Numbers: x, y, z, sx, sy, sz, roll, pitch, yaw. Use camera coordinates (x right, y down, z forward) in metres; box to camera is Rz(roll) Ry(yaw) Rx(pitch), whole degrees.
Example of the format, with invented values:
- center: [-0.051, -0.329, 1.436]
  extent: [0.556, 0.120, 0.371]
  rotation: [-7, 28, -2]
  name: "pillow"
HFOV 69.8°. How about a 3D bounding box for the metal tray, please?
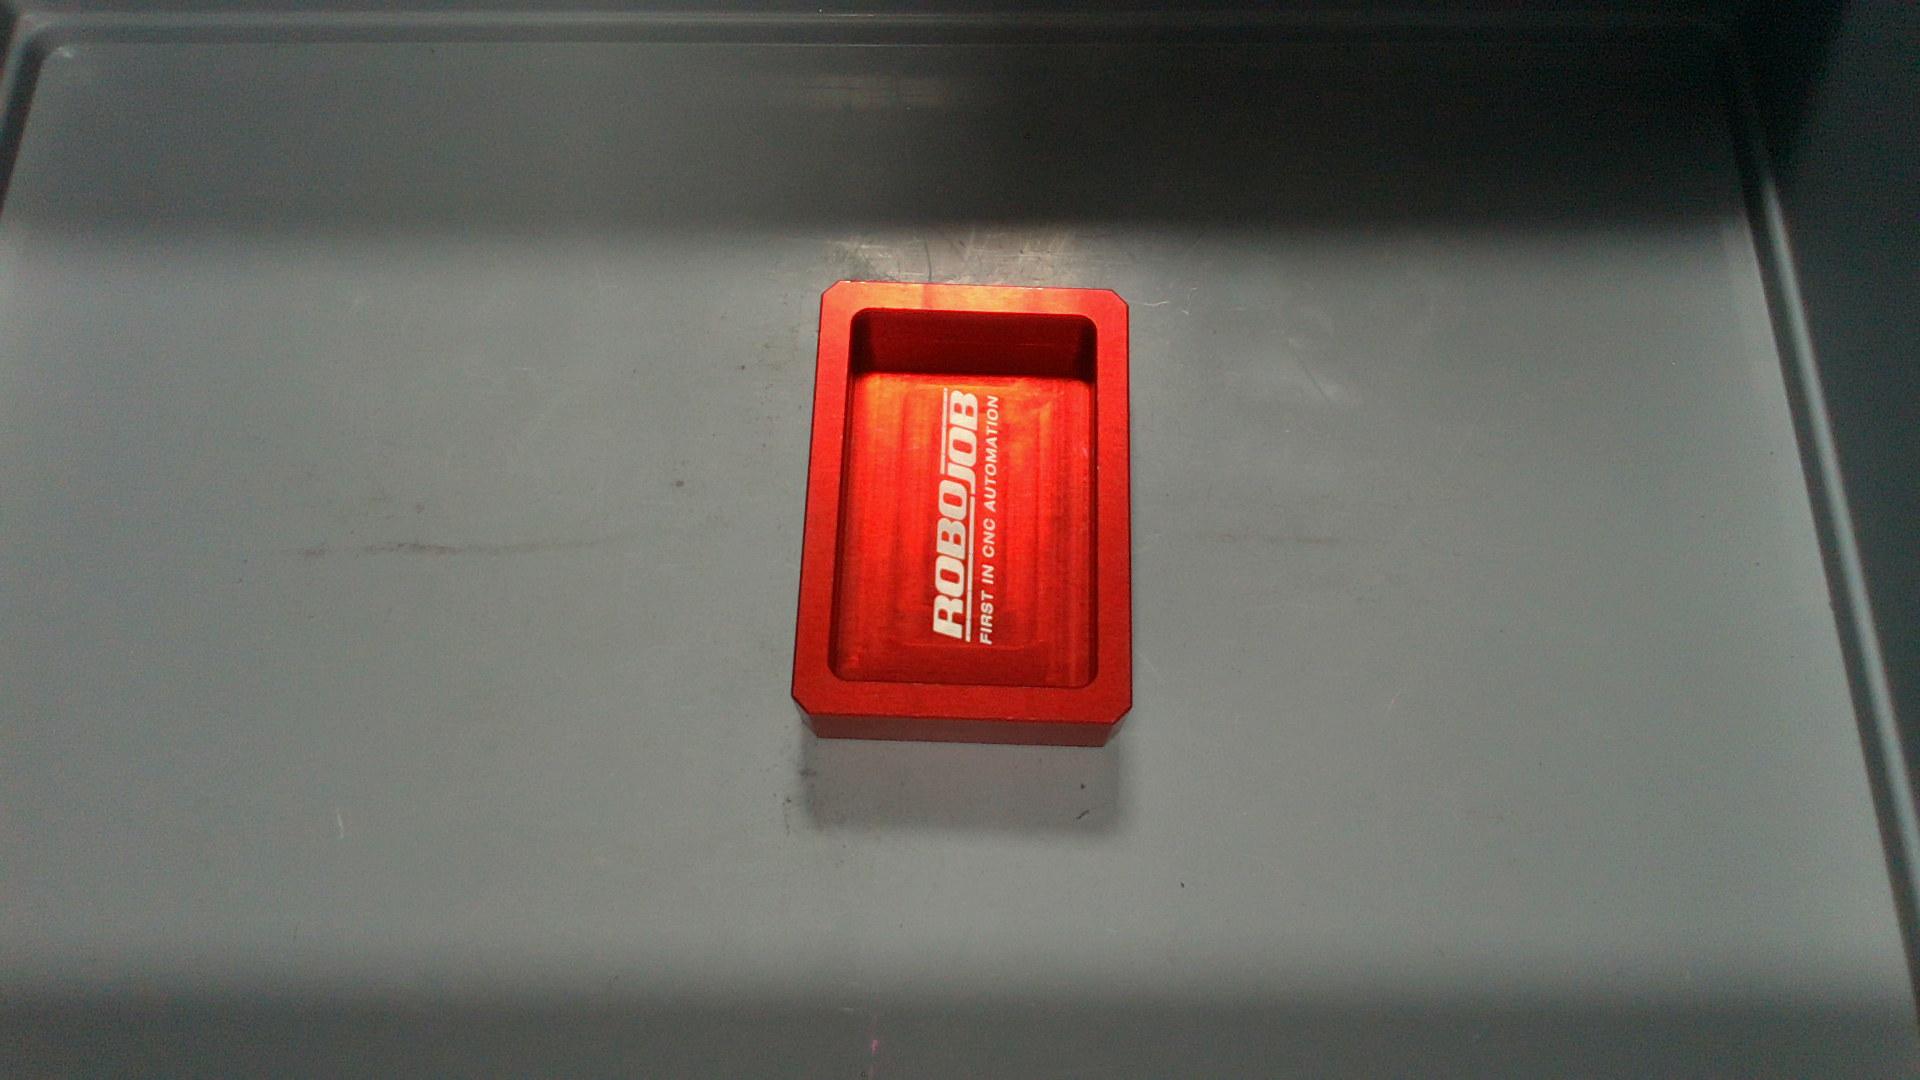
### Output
- center: [0.002, -0.009, 0.392]
  extent: [0.090, 0.030, 0.130]
  rotation: [2, 70, 0]
  name: "metal tray"
